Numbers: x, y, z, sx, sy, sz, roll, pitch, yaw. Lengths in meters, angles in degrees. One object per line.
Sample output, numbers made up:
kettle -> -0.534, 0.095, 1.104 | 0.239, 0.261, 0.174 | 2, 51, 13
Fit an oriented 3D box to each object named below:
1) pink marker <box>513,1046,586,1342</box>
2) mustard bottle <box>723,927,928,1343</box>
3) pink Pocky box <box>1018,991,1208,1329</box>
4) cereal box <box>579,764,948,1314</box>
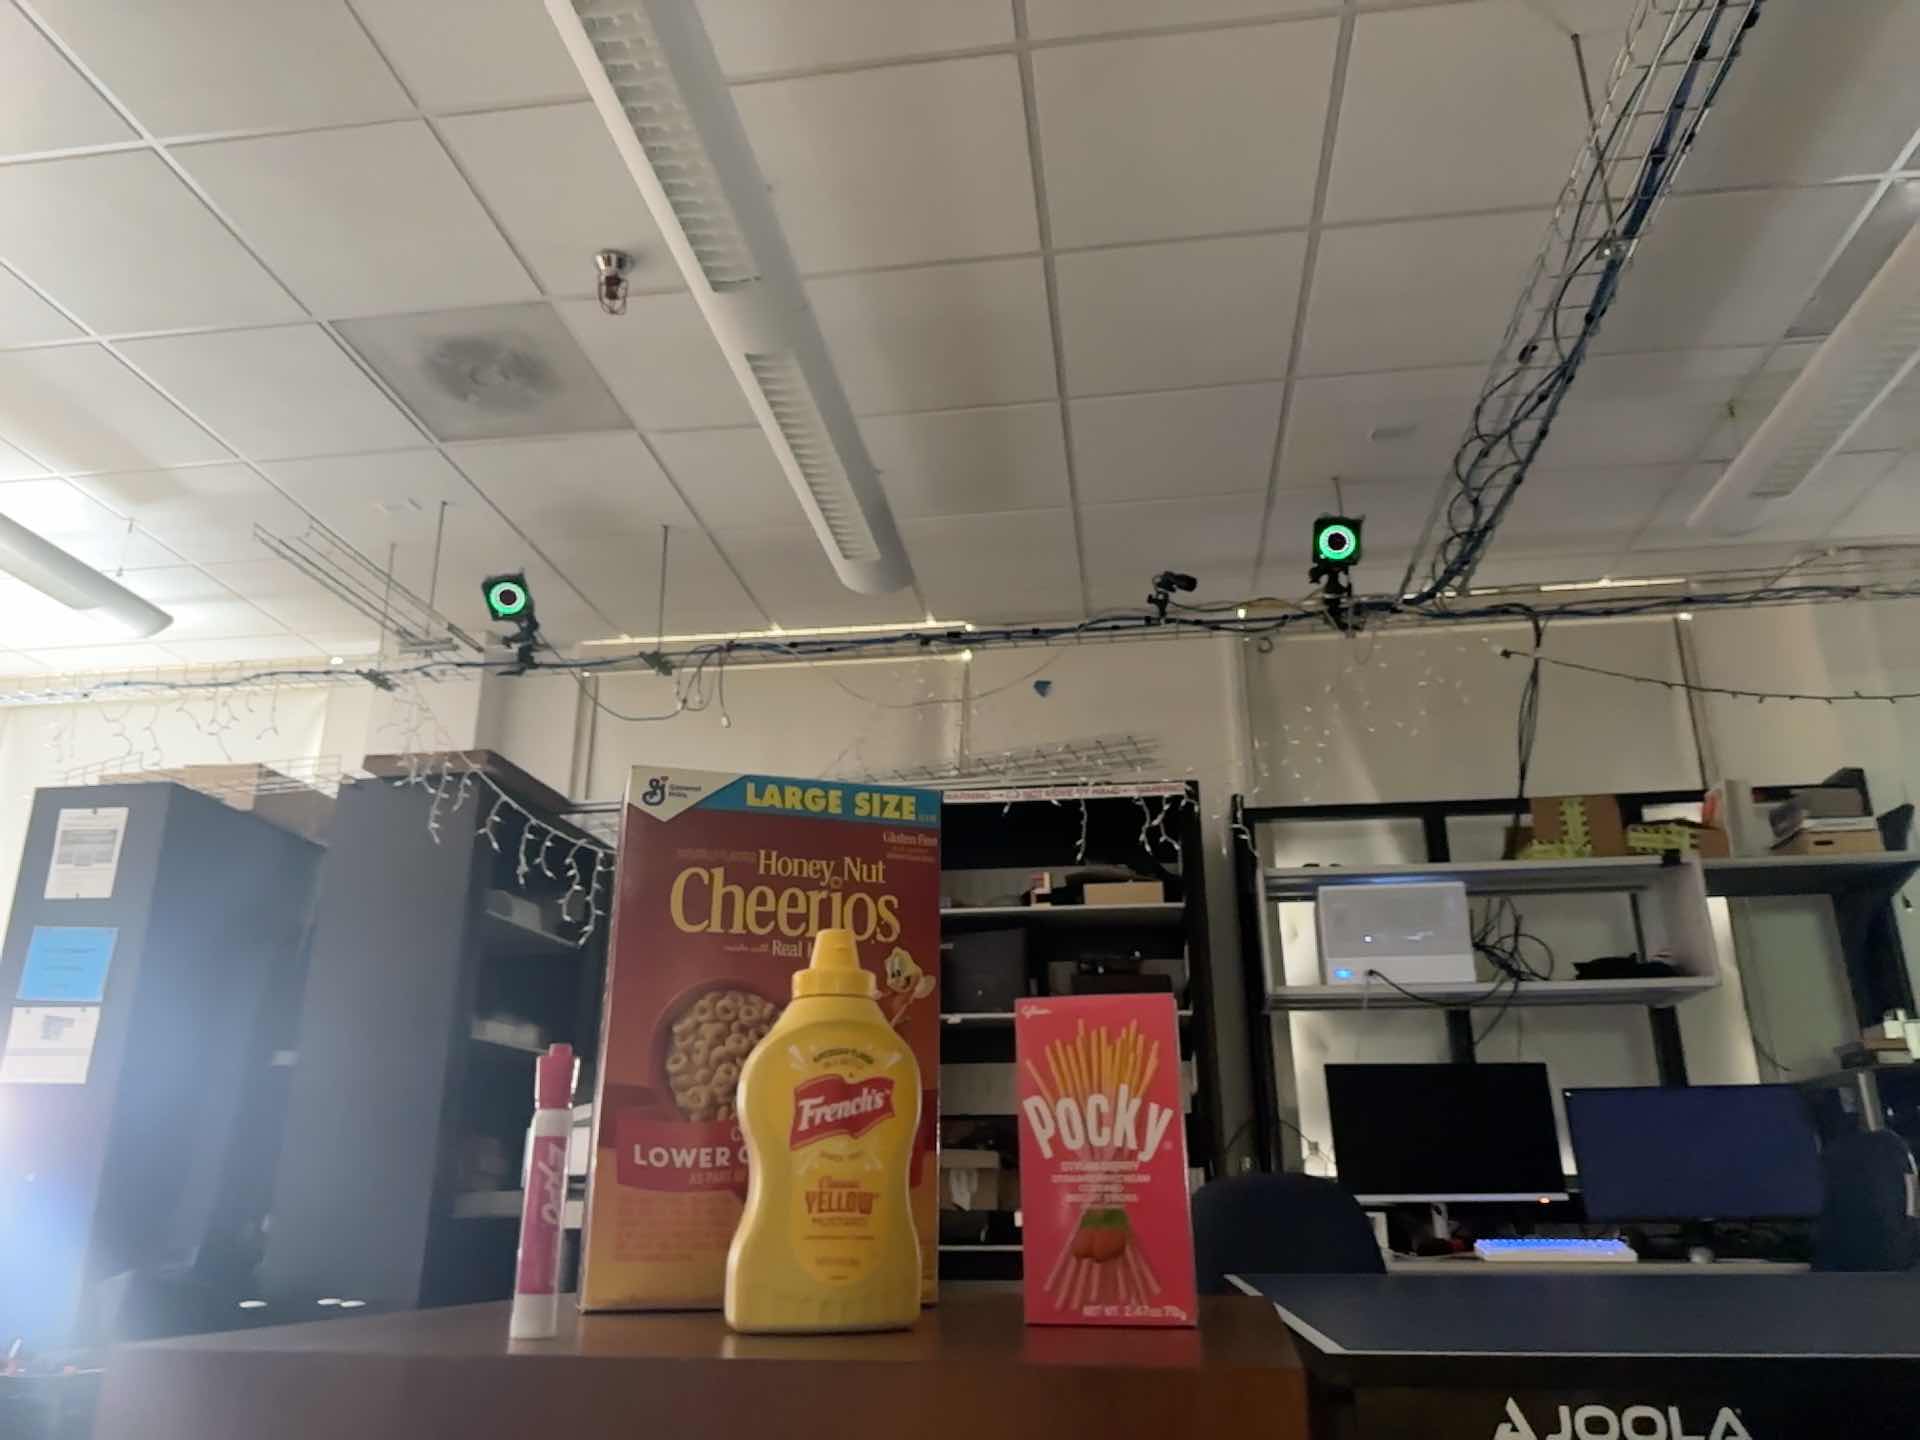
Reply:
pink marker -> -0.179, 0.205, 0.592 | 0.020, 0.121, 0.020 | 0, -19, 0
mustard bottle -> -0.063, 0.189, 0.637 | 0.092, 0.184, 0.054 | 4, -18, -16
pink Pocky box -> 0.073, 0.212, 0.661 | 0.084, 0.154, 0.029 | -3, -18, 6
cereal box -> -0.112, 0.185, 0.812 | 0.195, 0.296, 0.065 | 7, -20, -19
